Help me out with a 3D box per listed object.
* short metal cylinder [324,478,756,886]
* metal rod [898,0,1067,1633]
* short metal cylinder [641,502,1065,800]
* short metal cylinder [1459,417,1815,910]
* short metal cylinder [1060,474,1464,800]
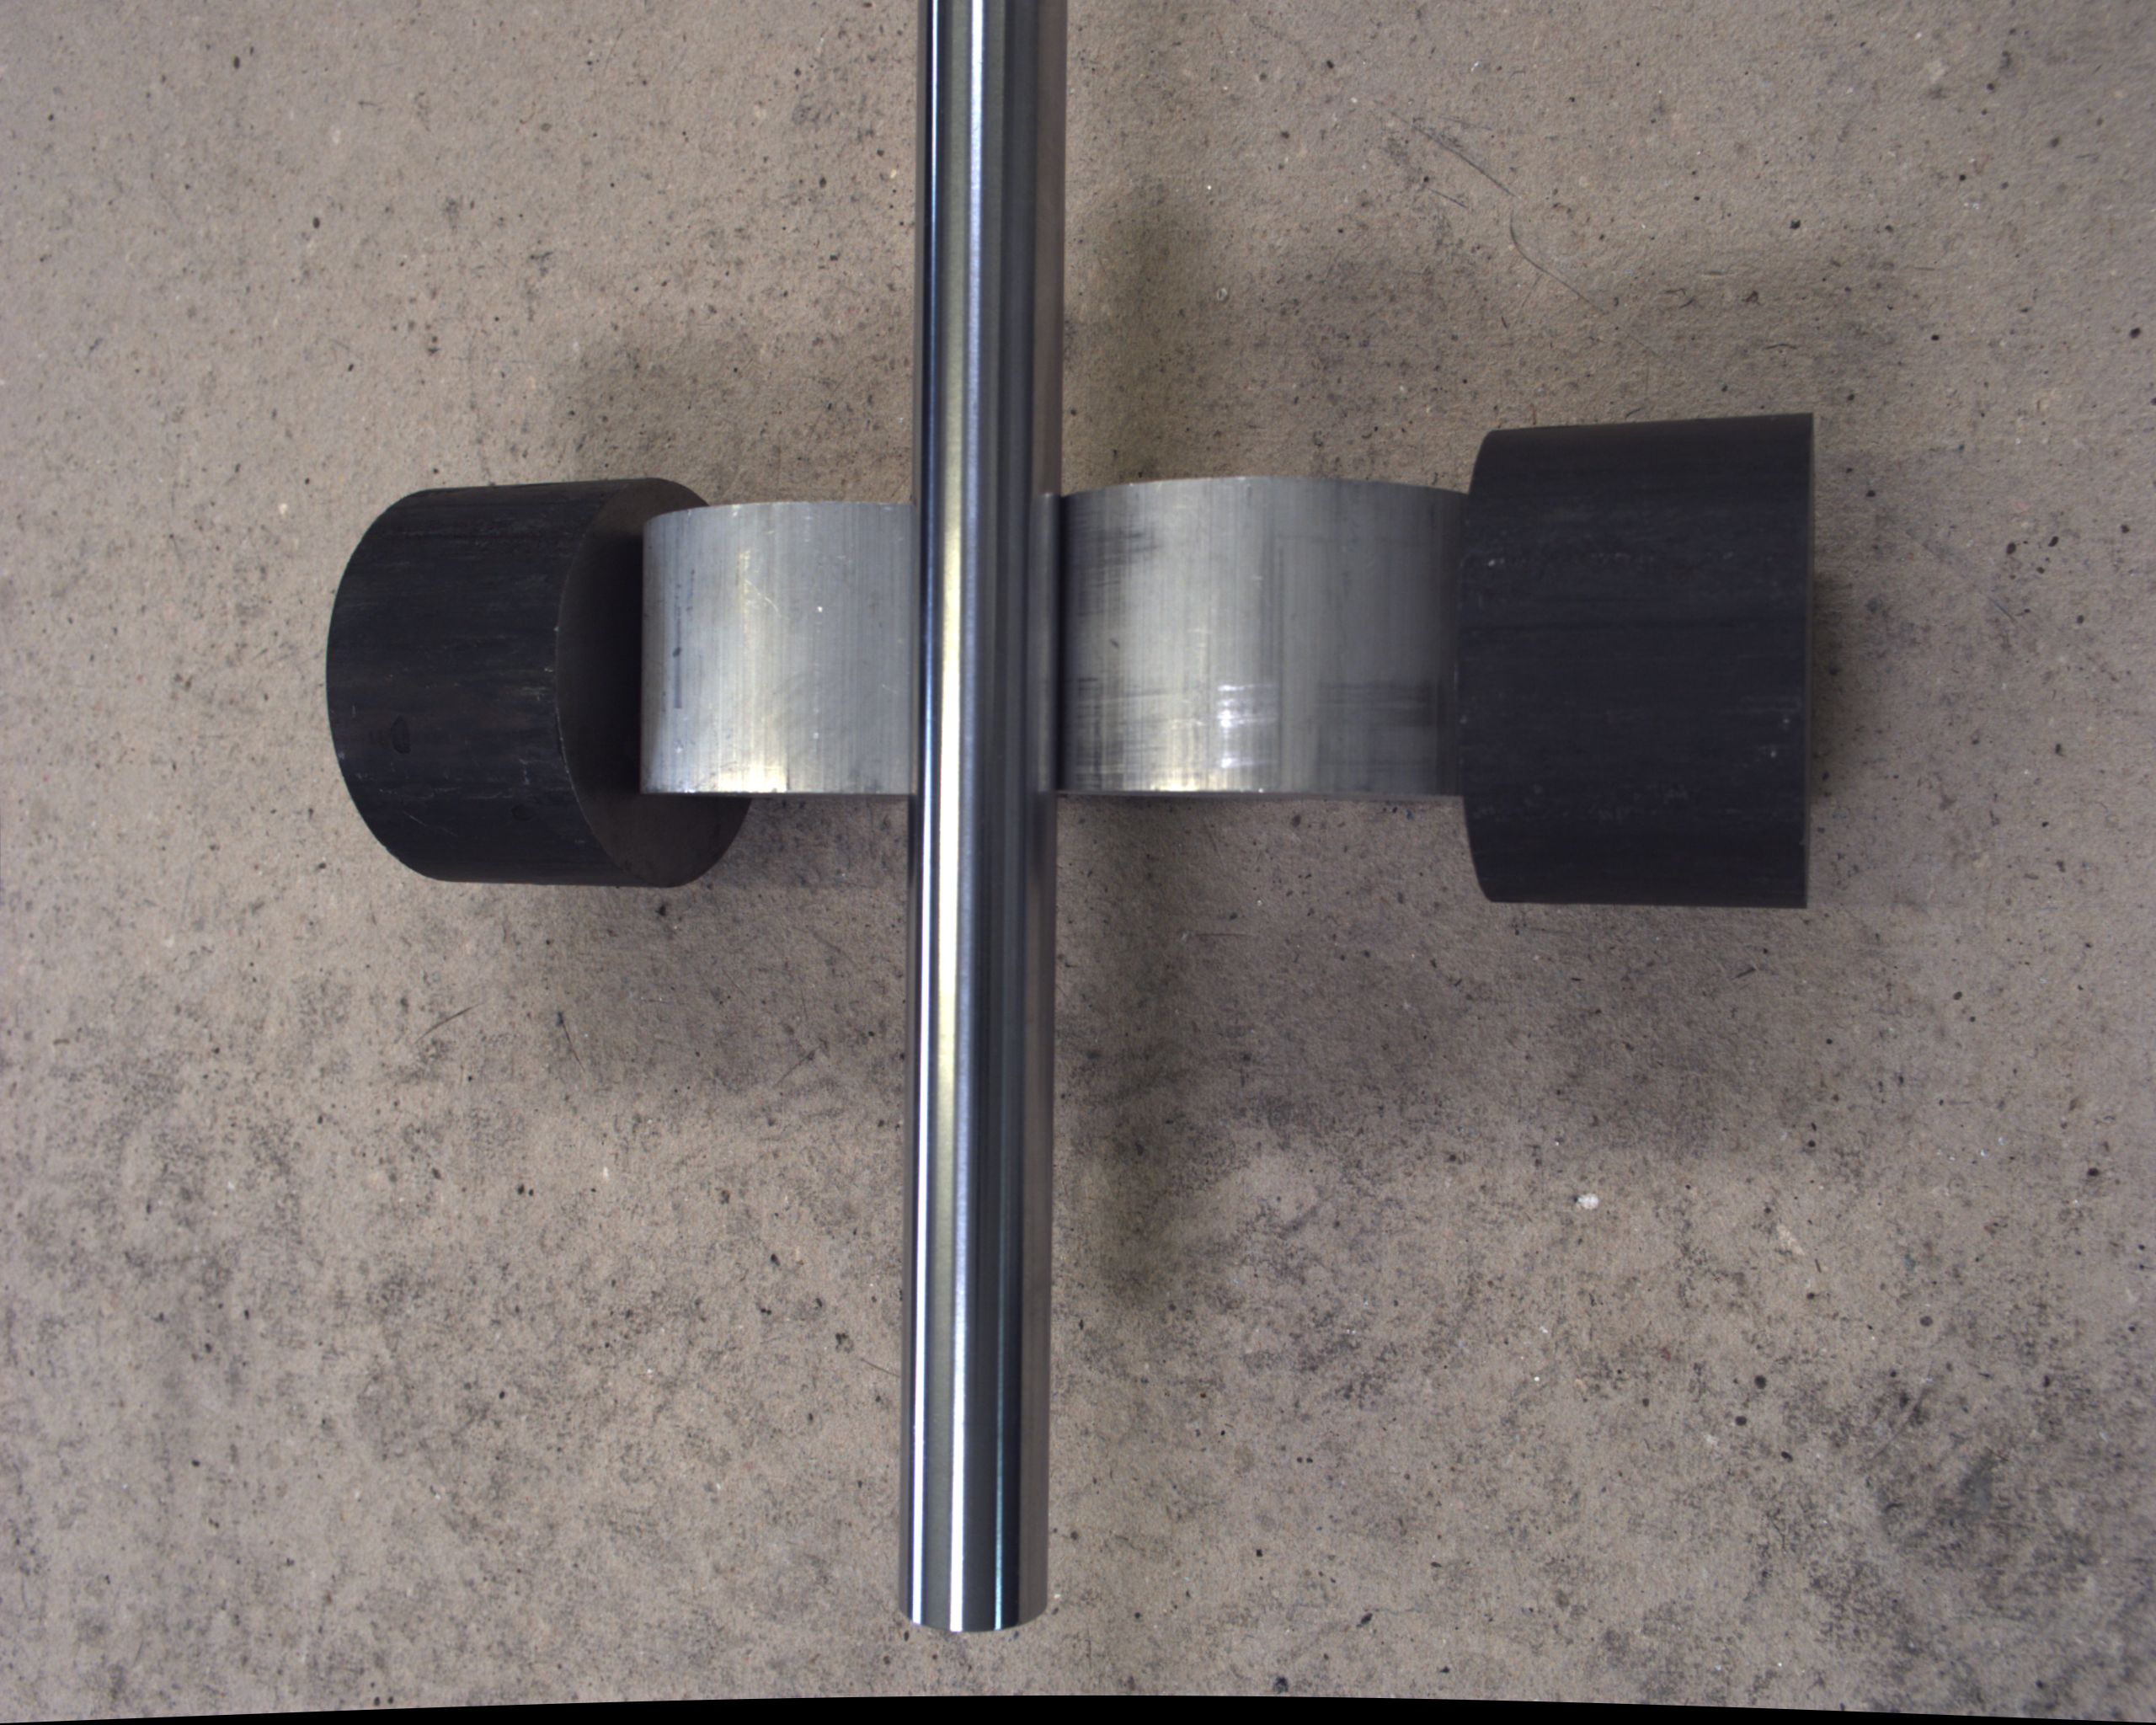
[{"bbox_3d":[-0.103,-0.036,0.417,0.050,0.080,0.080,1,90,20],"label":"short metal cylinder"},{"bbox_3d":[-0.016,-0.024,0.350,0.025,0.025,0.298,1,90,20],"label":"metal rod"},{"bbox_3d":[-0.042,-0.037,0.396,0.080,0.080,0.050,1,91,20],"label":"short metal cylinder"},{"bbox_3d":[0.096,-0.032,0.347,0.050,0.080,0.080,1,90,20],"label":"short metal cylinder"},{"bbox_3d":[0.033,-0.037,0.369,0.080,0.080,0.050,1,91,20],"label":"short metal cylinder"}]
